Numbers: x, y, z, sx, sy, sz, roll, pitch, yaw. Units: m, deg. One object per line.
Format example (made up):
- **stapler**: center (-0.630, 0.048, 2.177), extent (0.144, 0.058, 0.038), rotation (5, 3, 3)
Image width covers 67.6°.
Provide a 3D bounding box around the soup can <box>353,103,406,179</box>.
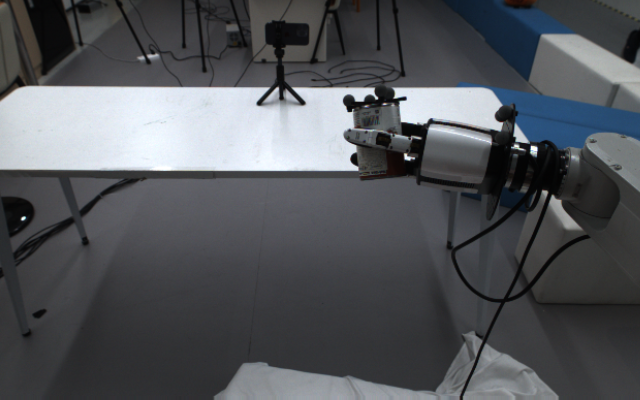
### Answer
- **soup can**: center (0.085, -0.081, 0.686), extent (0.067, 0.101, 0.067), rotation (-7, 3, 0)
